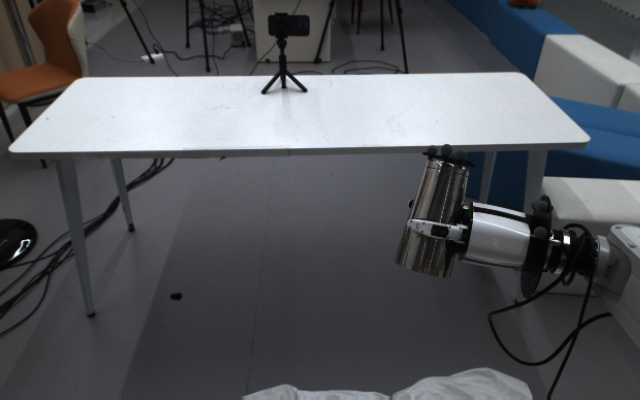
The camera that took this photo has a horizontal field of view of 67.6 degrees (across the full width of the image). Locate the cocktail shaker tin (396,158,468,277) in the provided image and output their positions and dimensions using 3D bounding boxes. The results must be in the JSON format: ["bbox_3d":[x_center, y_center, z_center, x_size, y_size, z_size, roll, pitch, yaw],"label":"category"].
[{"bbox_3d":[0.184,0.026,0.769,0.093,0.170,0.093,13,4,-1],"label":"cocktail shaker tin"}]
